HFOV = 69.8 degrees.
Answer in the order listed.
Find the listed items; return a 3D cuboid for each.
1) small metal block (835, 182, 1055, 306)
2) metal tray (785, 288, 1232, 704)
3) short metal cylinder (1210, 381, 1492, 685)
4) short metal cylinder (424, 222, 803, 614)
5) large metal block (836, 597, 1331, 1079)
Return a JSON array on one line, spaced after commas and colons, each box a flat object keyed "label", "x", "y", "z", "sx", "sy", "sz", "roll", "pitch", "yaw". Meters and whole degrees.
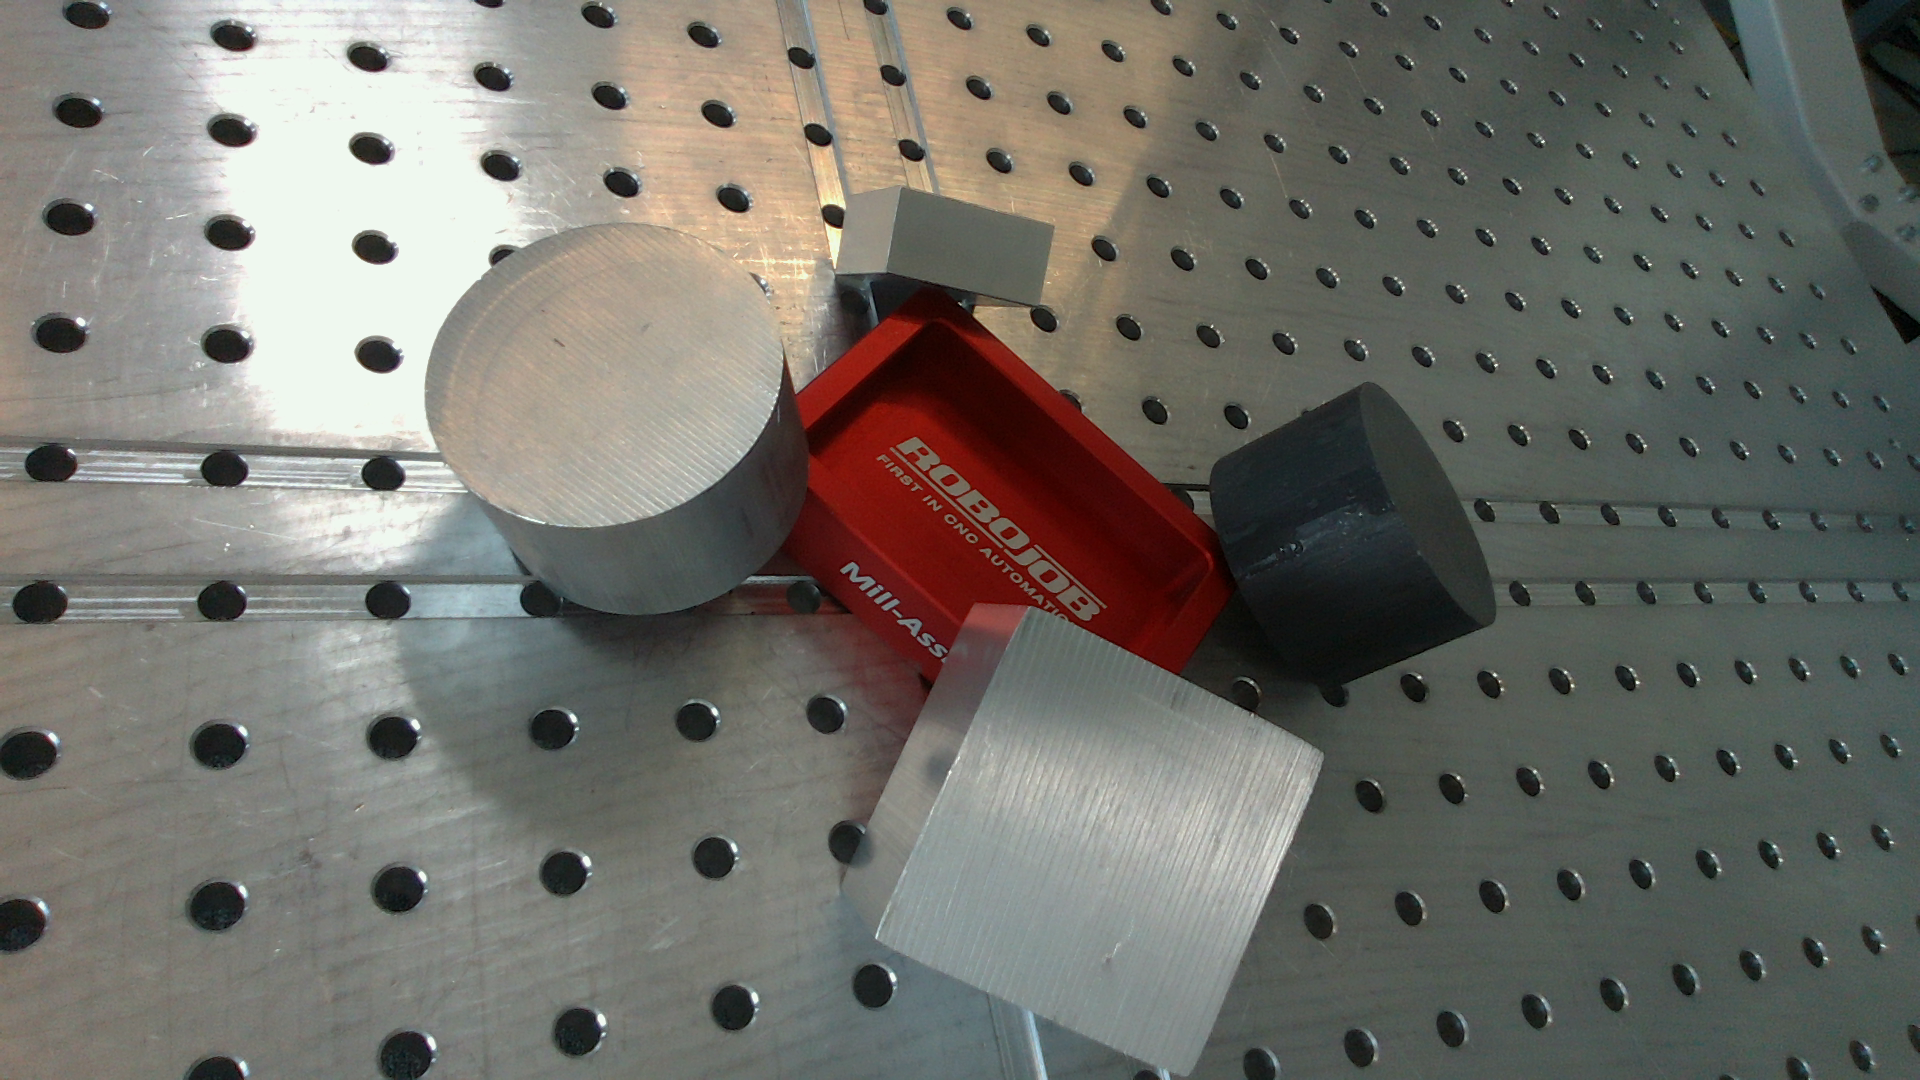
[{"label": "small metal block", "x": -0.006, "y": -0.090, "z": 0.425, "sx": 0.050, "sy": 0.050, "sz": 0.025, "roll": 9, "pitch": 96, "yaw": -23}, {"label": "metal tray", "x": 0.011, "y": -0.004, "z": 0.397, "sx": 0.130, "sy": 0.030, "sz": 0.090, "roll": 41, "pitch": 51, "yaw": 0}, {"label": "short metal cylinder", "x": 0.120, "y": -0.001, "z": 0.422, "sx": 0.080, "sy": 0.050, "sz": 0.080, "roll": 38, "pitch": 37, "yaw": -35}, {"label": "short metal cylinder", "x": -0.080, "y": -0.029, "z": 0.332, "sx": 0.080, "sy": 0.050, "sz": 0.080, "roll": 0, "pitch": 65, "yaw": 0}, {"label": "large metal block", "x": 0.027, "y": 0.067, "z": 0.328, "sx": 0.080, "sy": 0.050, "sz": 0.080, "roll": 28, "pitch": 83, "yaw": -11}]
